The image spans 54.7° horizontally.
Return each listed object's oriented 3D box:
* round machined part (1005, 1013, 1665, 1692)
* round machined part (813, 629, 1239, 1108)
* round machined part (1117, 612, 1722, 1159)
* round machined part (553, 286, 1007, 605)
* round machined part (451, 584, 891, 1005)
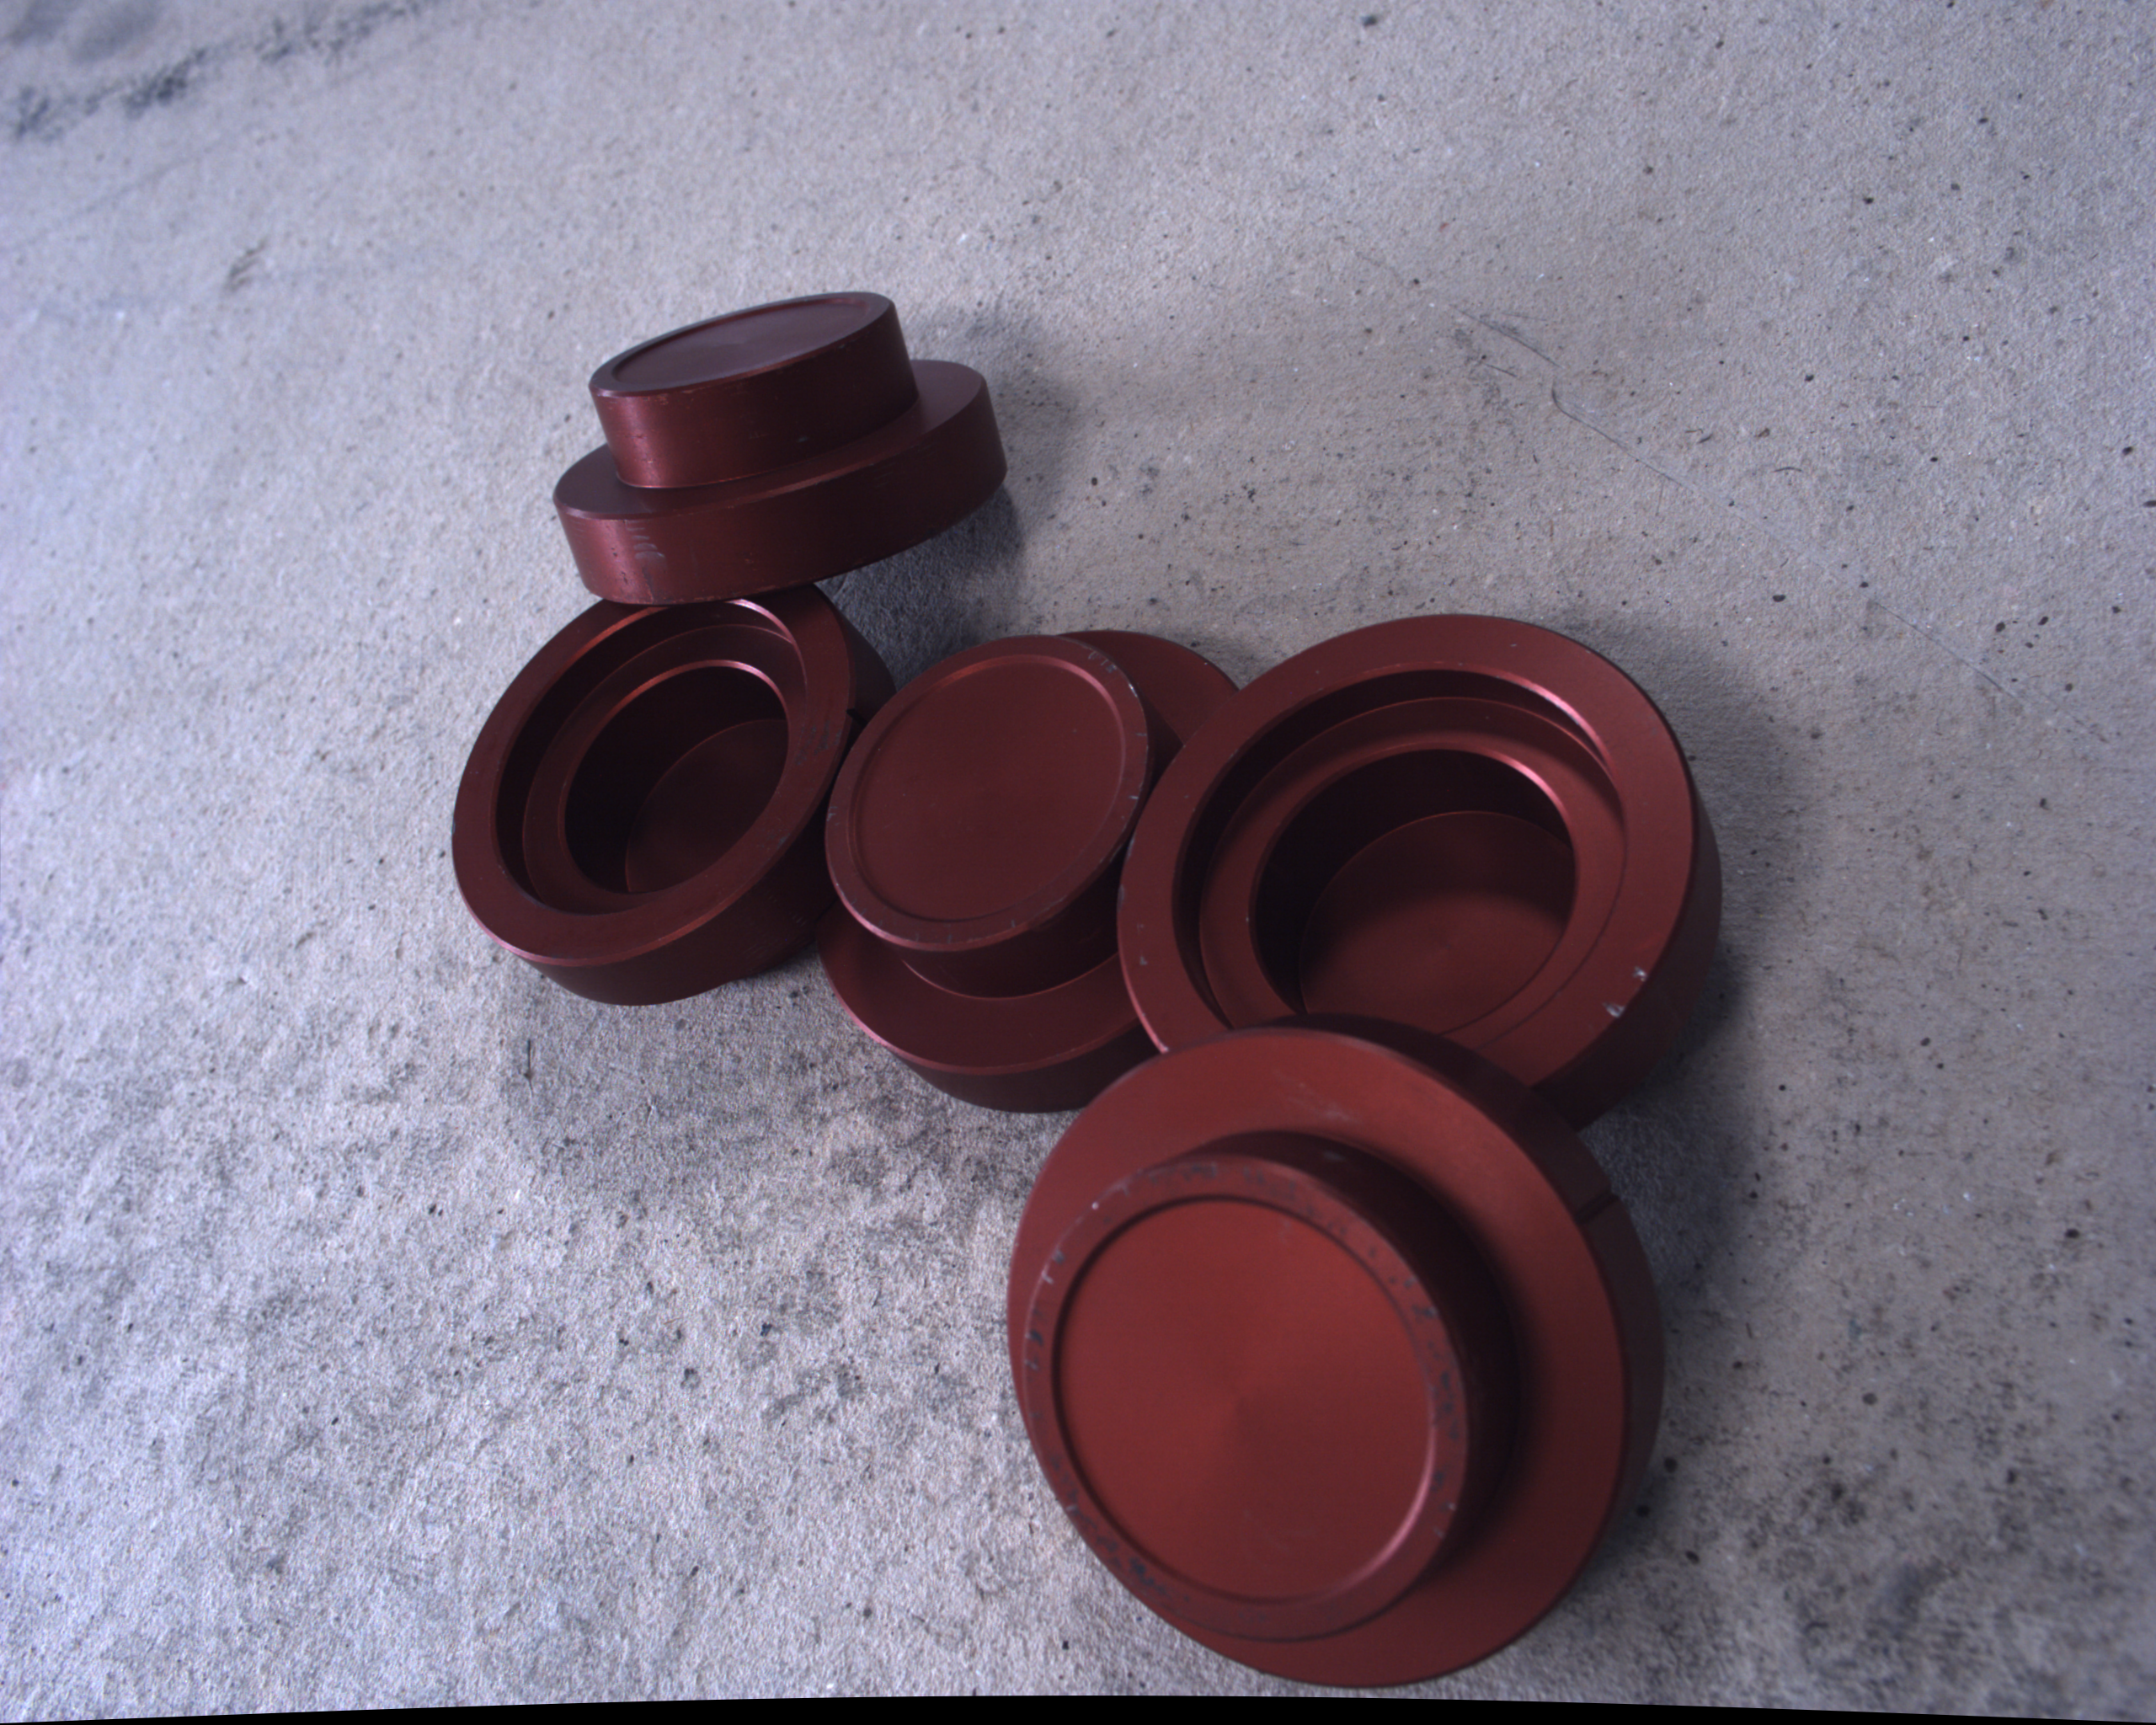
[{"bbox_3d":[0.031,0.072,0.304,0.098,0.042,0.097,1,91,28],"label":"round machined part"},{"bbox_3d":[-0.009,-0.006,0.401,0.098,0.042,0.098,-15,53,21],"label":"round machined part"},{"bbox_3d":[0.060,0.009,0.357,0.098,0.042,0.098,-14,56,21],"label":"round machined part"},{"bbox_3d":[-0.068,-0.096,0.461,0.098,0.042,0.098,-11,28,6],"label":"round machined part"},{"bbox_3d":[-0.081,-0.014,0.445,0.098,0.042,0.098,-14,56,21],"label":"round machined part"}]
